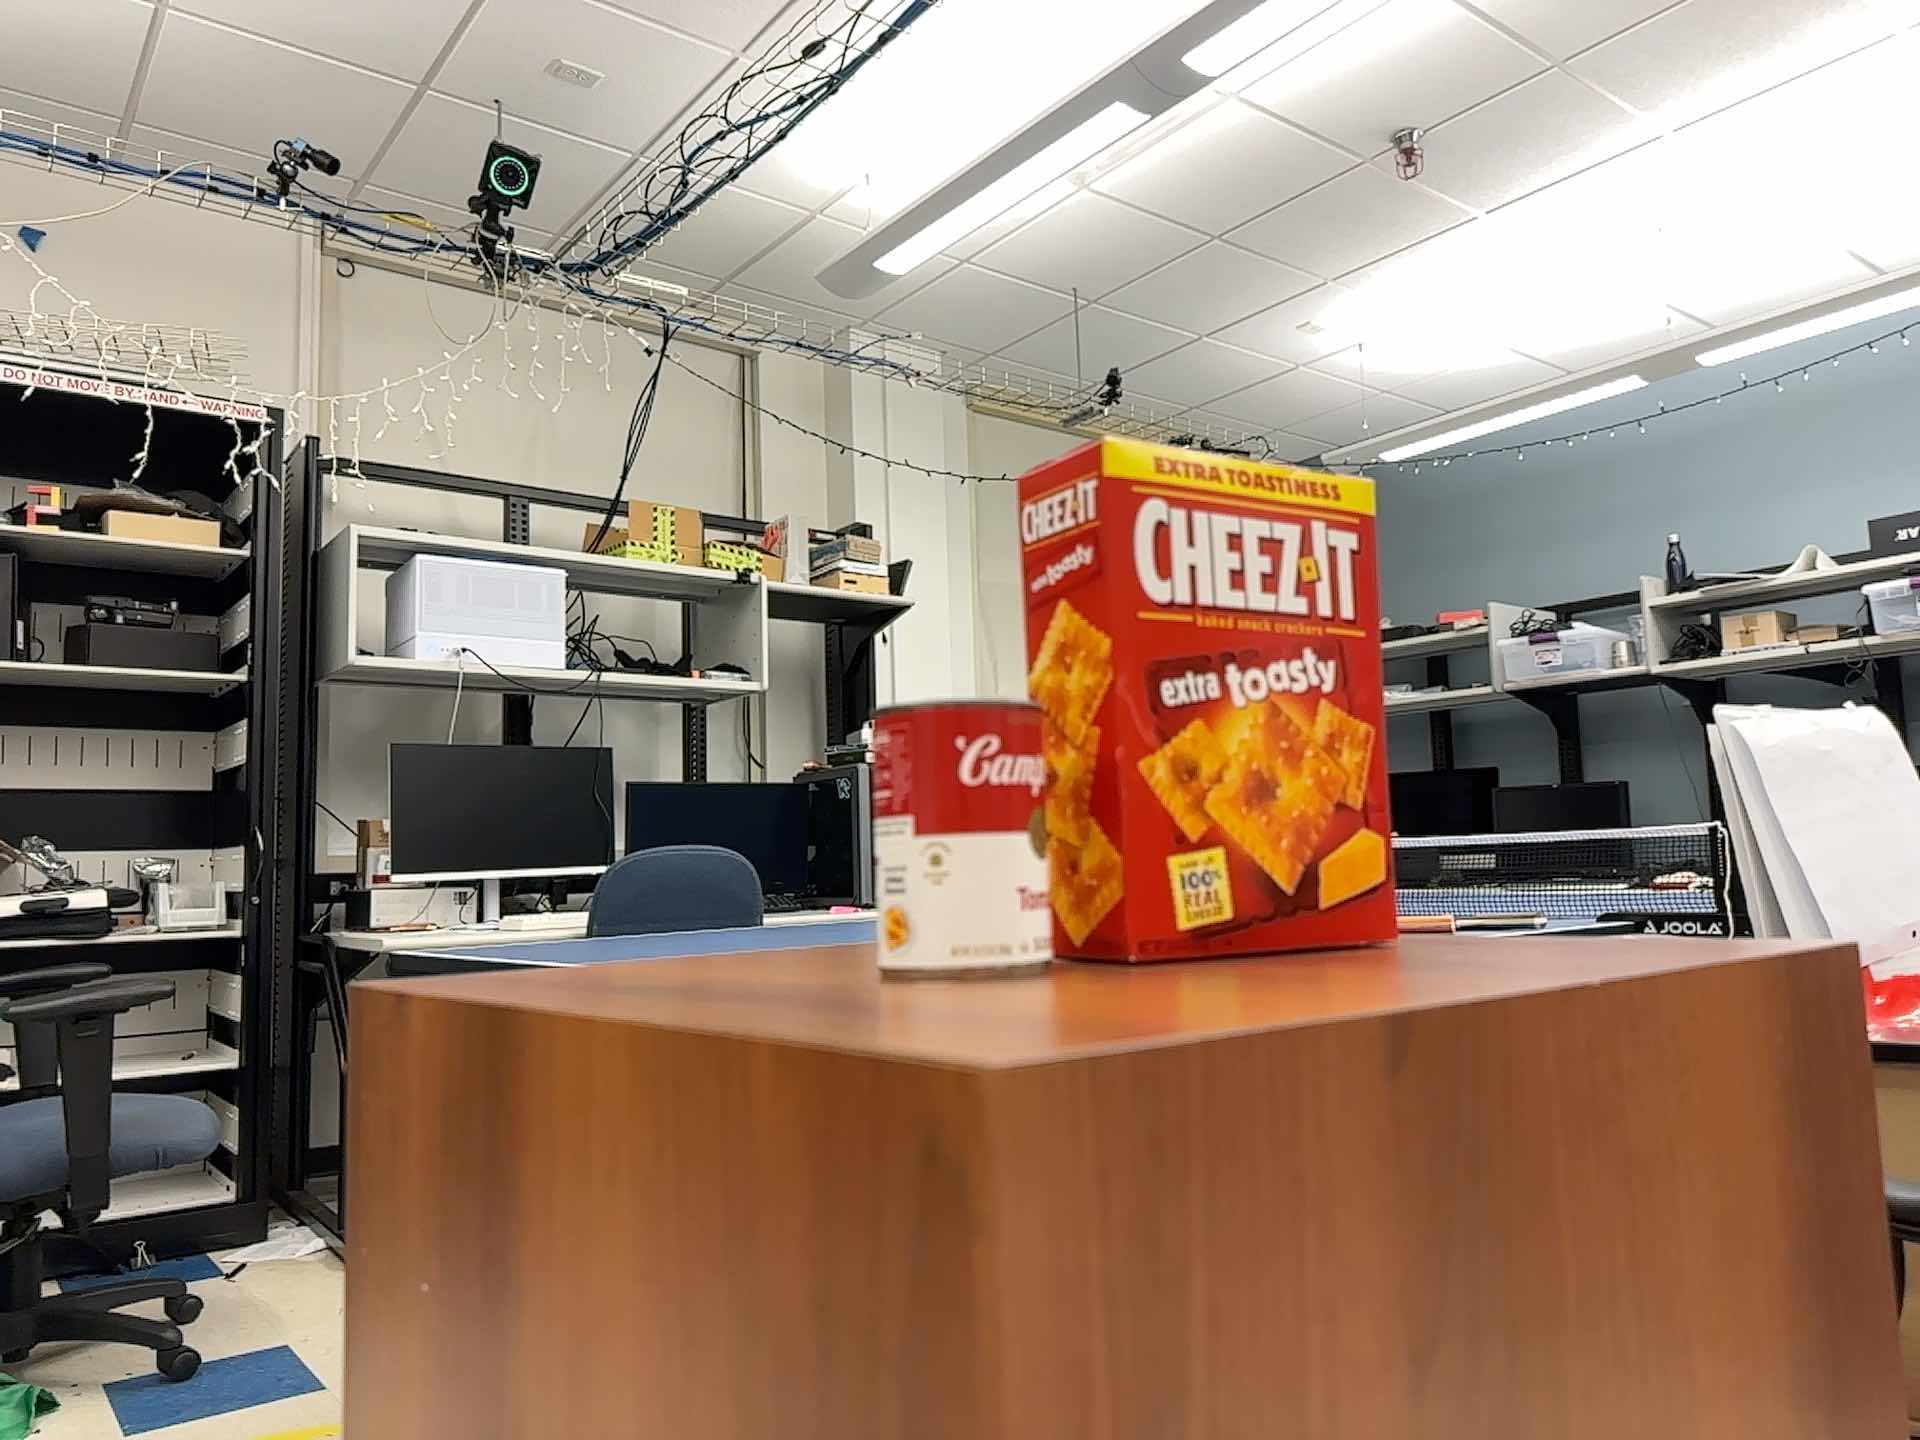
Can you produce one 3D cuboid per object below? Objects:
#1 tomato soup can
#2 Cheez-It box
[{"bbox_3d":[0.001,0.044,0.504,0.067,0.102,0.067,-1,-8,0],"label":"tomato soup can"},{"bbox_3d":[0.114,-0.005,0.600,0.159,0.214,0.062,4,-9,-33],"label":"Cheez-It box"}]
